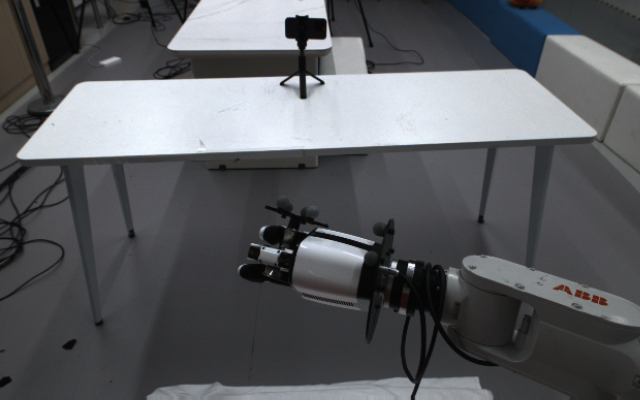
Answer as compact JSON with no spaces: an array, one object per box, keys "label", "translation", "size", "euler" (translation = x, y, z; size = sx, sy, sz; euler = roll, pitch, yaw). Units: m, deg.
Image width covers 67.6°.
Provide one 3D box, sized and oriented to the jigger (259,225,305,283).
[{"label":"jigger","translation":[-0.046,0.070,0.640],"size":[0.043,0.071,0.043],"euler":[19,-6,2]}]
